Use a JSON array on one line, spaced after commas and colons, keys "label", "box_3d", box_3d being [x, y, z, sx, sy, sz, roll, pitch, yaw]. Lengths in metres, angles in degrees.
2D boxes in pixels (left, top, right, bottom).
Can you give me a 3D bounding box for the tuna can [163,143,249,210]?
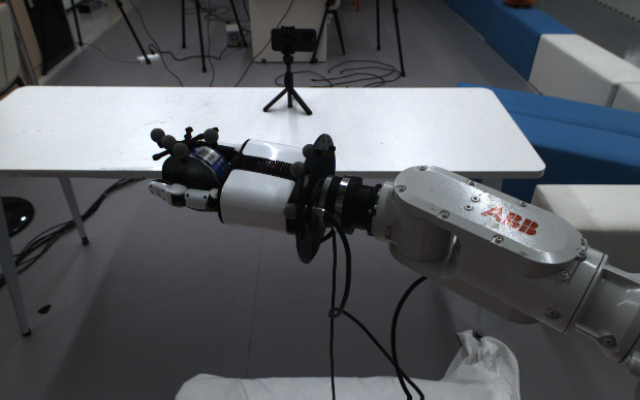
[{"label": "tuna can", "box_3d": [-0.153, -0.029, 0.615, 0.085, 0.085, 0.034, 14, 39, 16]}]
